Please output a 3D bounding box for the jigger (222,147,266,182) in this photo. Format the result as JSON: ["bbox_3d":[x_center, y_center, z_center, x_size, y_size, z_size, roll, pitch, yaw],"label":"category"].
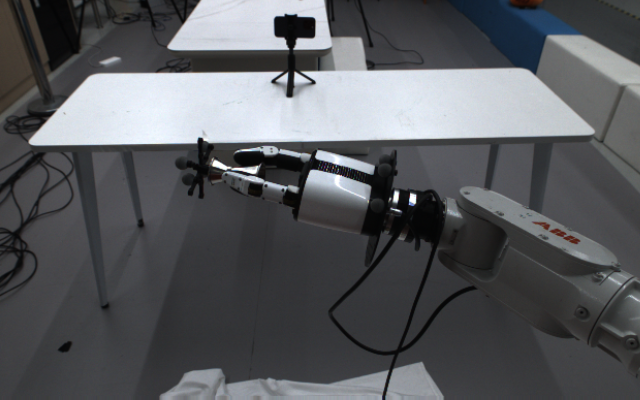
[{"bbox_3d":[-0.104,-0.039,0.655,0.071,0.043,0.043,8,35,6],"label":"jigger"}]
